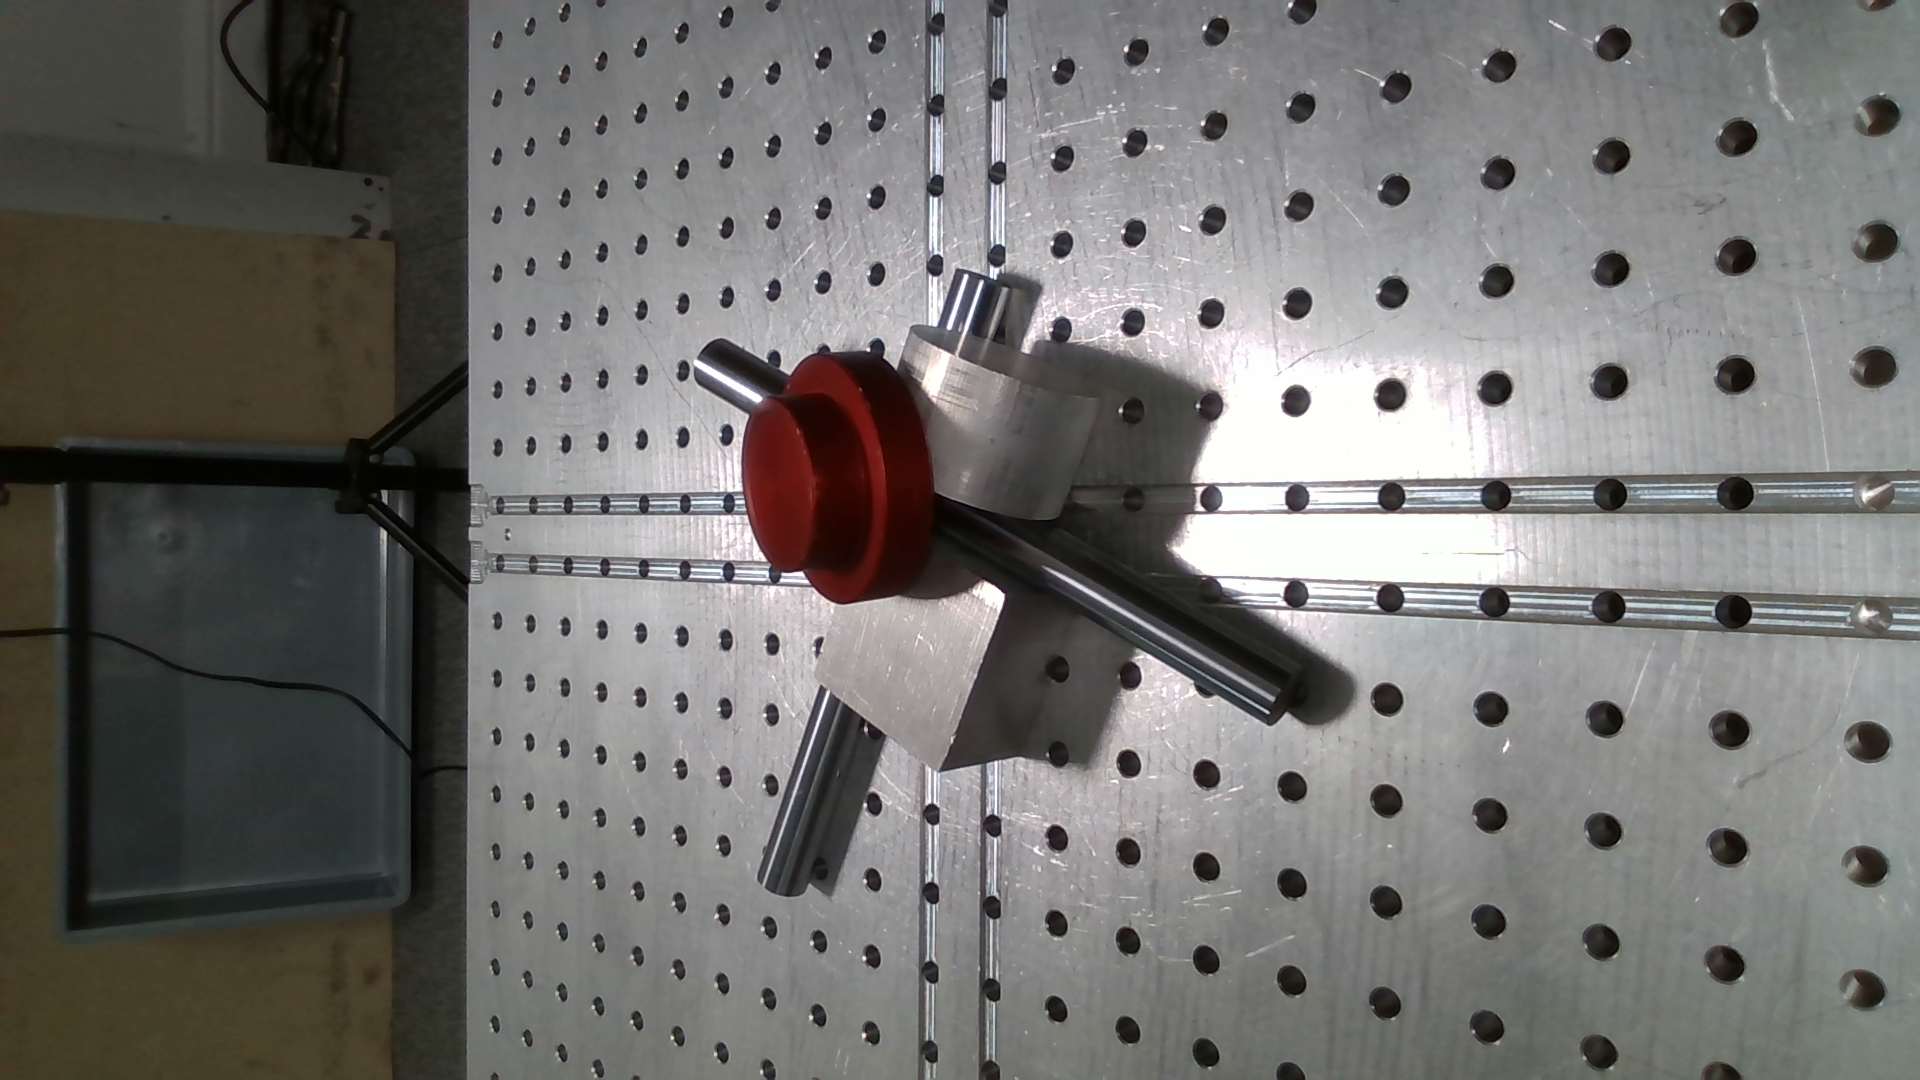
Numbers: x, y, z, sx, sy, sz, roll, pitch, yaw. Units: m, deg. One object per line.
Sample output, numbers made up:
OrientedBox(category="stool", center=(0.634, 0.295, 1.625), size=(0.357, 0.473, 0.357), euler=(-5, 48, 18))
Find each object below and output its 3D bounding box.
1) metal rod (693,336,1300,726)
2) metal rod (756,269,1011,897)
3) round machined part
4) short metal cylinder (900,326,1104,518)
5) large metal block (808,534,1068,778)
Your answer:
OrientedBox(category="metal rod", center=(0.001, -0.013, 0.558), size=(0.299, 0.025, 0.025), euler=(31, 110, 28))
OrientedBox(category="metal rod", center=(-0.038, 0.027, 0.617), size=(0.025, 0.025, 0.300), euler=(31, 110, 36))
OrientedBox(category="round machined part", center=(-0.053, -0.023, 0.533), size=(0.098, 0.042, 0.098), euler=(22, 116, 57))
OrientedBox(category="short metal cylinder", center=(0.010, -0.048, 0.539), size=(0.080, 0.080, 0.050), euler=(31, 110, 36))
OrientedBox(category="large metal block", center=(-0.008, 0.040, 0.571), size=(0.080, 0.050, 0.080), euler=(32, 110, 35))
